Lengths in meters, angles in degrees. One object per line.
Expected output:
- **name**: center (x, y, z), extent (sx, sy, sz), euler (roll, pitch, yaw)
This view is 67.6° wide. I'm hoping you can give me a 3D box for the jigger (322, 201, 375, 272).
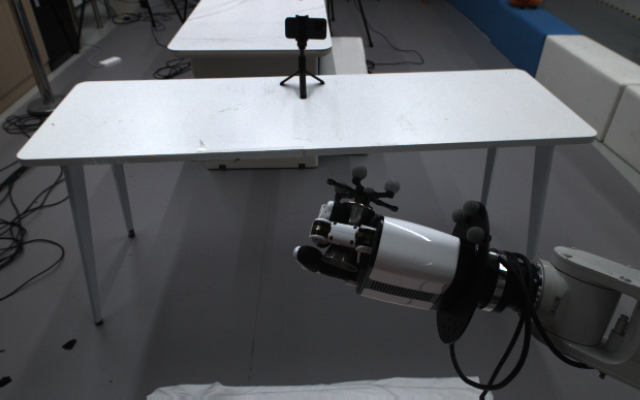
- **jigger**: center (0.034, 0.039, 0.540), extent (0.043, 0.043, 0.071), euler (15, 70, 18)
